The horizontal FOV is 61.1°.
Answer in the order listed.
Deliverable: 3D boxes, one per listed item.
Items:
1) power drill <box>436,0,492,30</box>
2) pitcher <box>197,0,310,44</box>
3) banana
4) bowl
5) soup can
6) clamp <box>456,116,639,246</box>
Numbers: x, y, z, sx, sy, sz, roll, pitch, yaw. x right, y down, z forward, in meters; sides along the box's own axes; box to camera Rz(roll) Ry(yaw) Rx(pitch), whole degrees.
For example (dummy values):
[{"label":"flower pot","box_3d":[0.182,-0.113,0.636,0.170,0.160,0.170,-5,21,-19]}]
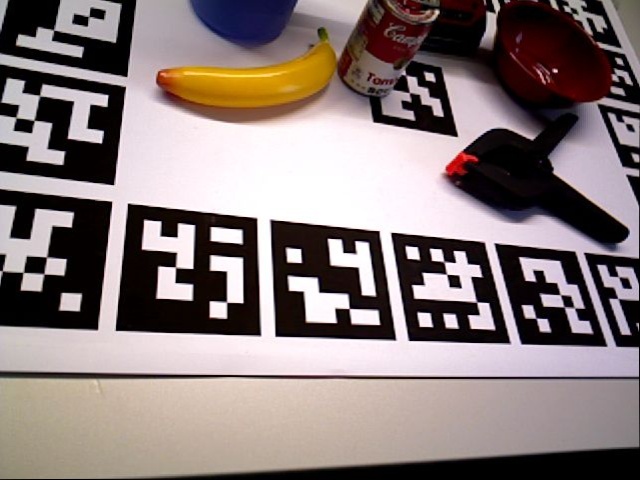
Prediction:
[{"label":"power drill","box_3d":[0.189,-0.309,0.555,0.182,0.191,0.057,-1,63,-23]},{"label":"pitcher","box_3d":[-0.025,-0.296,0.452,0.185,0.248,0.133,-21,70,-30]},{"label":"banana","box_3d":[-0.051,-0.148,0.491,0.193,0.040,0.074,-22,65,-32]},{"label":"bowl","box_3d":[0.267,-0.211,0.638,0.160,0.056,0.160,9,62,-17]},{"label":"soup can","box_3d":[0.069,-0.200,0.526,0.067,0.104,0.067,11,51,-15]},{"label":"clamp","box_3d":[0.230,-0.073,0.553,0.200,0.037,0.164,1,68,-21]}]
